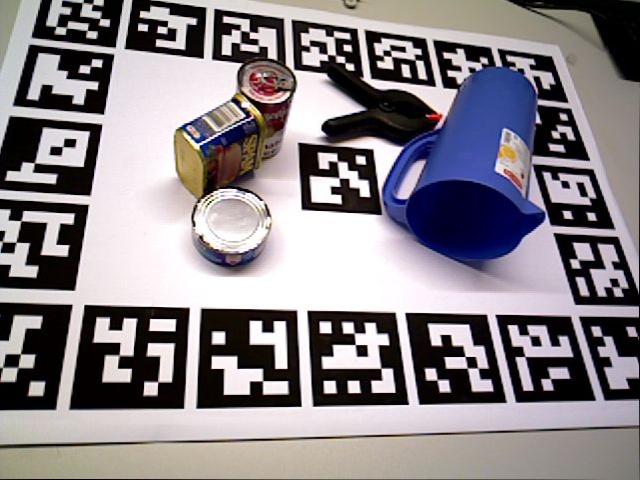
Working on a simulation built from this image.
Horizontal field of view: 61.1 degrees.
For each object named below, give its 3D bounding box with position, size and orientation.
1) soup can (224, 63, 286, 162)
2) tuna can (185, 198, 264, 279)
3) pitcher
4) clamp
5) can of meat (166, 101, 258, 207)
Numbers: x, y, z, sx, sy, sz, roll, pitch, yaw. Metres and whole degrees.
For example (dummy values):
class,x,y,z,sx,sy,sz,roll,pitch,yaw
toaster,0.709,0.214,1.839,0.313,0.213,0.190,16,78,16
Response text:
class,x,y,z,sx,sy,sz,roll,pitch,yaw
soup can,-0.081,-0.146,0.642,0.067,0.104,0.067,4,63,-9
tuna can,-0.106,-0.001,0.597,0.085,0.034,0.085,5,63,-11
pitcher,0.187,-0.095,0.657,0.189,0.136,0.237,10,50,17
clamp,0.057,-0.169,0.737,0.163,0.037,0.120,6,57,-15
can of meat,-0.121,-0.091,0.598,0.082,0.104,0.058,-33,75,-24
